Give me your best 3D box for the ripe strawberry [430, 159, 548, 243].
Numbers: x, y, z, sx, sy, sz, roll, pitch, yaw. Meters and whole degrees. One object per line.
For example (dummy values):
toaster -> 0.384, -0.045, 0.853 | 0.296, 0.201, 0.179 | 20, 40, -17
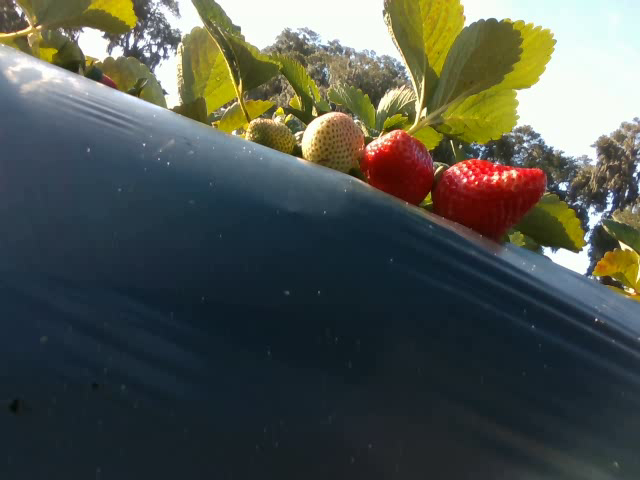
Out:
ripe strawberry -> 0.091, -0.023, 0.307 | 0.056, 0.052, 0.067 | -10, -5, -41

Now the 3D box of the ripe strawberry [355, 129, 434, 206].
ripe strawberry -> 0.040, -0.041, 0.306 | 0.050, 0.044, 0.061 | 41, -8, 16
